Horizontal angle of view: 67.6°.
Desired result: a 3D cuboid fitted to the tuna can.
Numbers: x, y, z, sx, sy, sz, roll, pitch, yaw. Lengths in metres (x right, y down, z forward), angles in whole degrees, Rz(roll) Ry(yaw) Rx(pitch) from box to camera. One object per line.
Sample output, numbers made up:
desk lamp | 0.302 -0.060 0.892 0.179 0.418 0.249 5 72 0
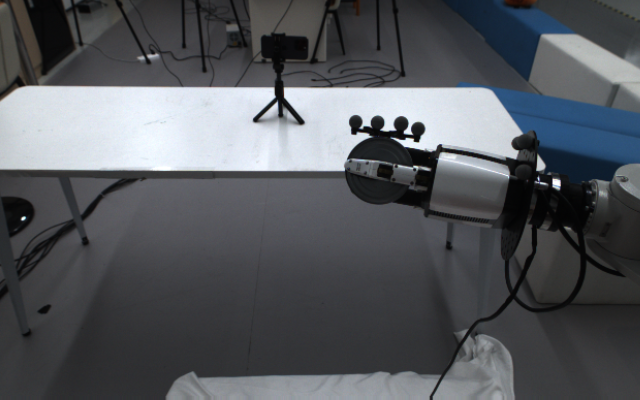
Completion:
tuna can | 0.077 -0.040 0.618 0.085 0.085 0.034 11 2 12
